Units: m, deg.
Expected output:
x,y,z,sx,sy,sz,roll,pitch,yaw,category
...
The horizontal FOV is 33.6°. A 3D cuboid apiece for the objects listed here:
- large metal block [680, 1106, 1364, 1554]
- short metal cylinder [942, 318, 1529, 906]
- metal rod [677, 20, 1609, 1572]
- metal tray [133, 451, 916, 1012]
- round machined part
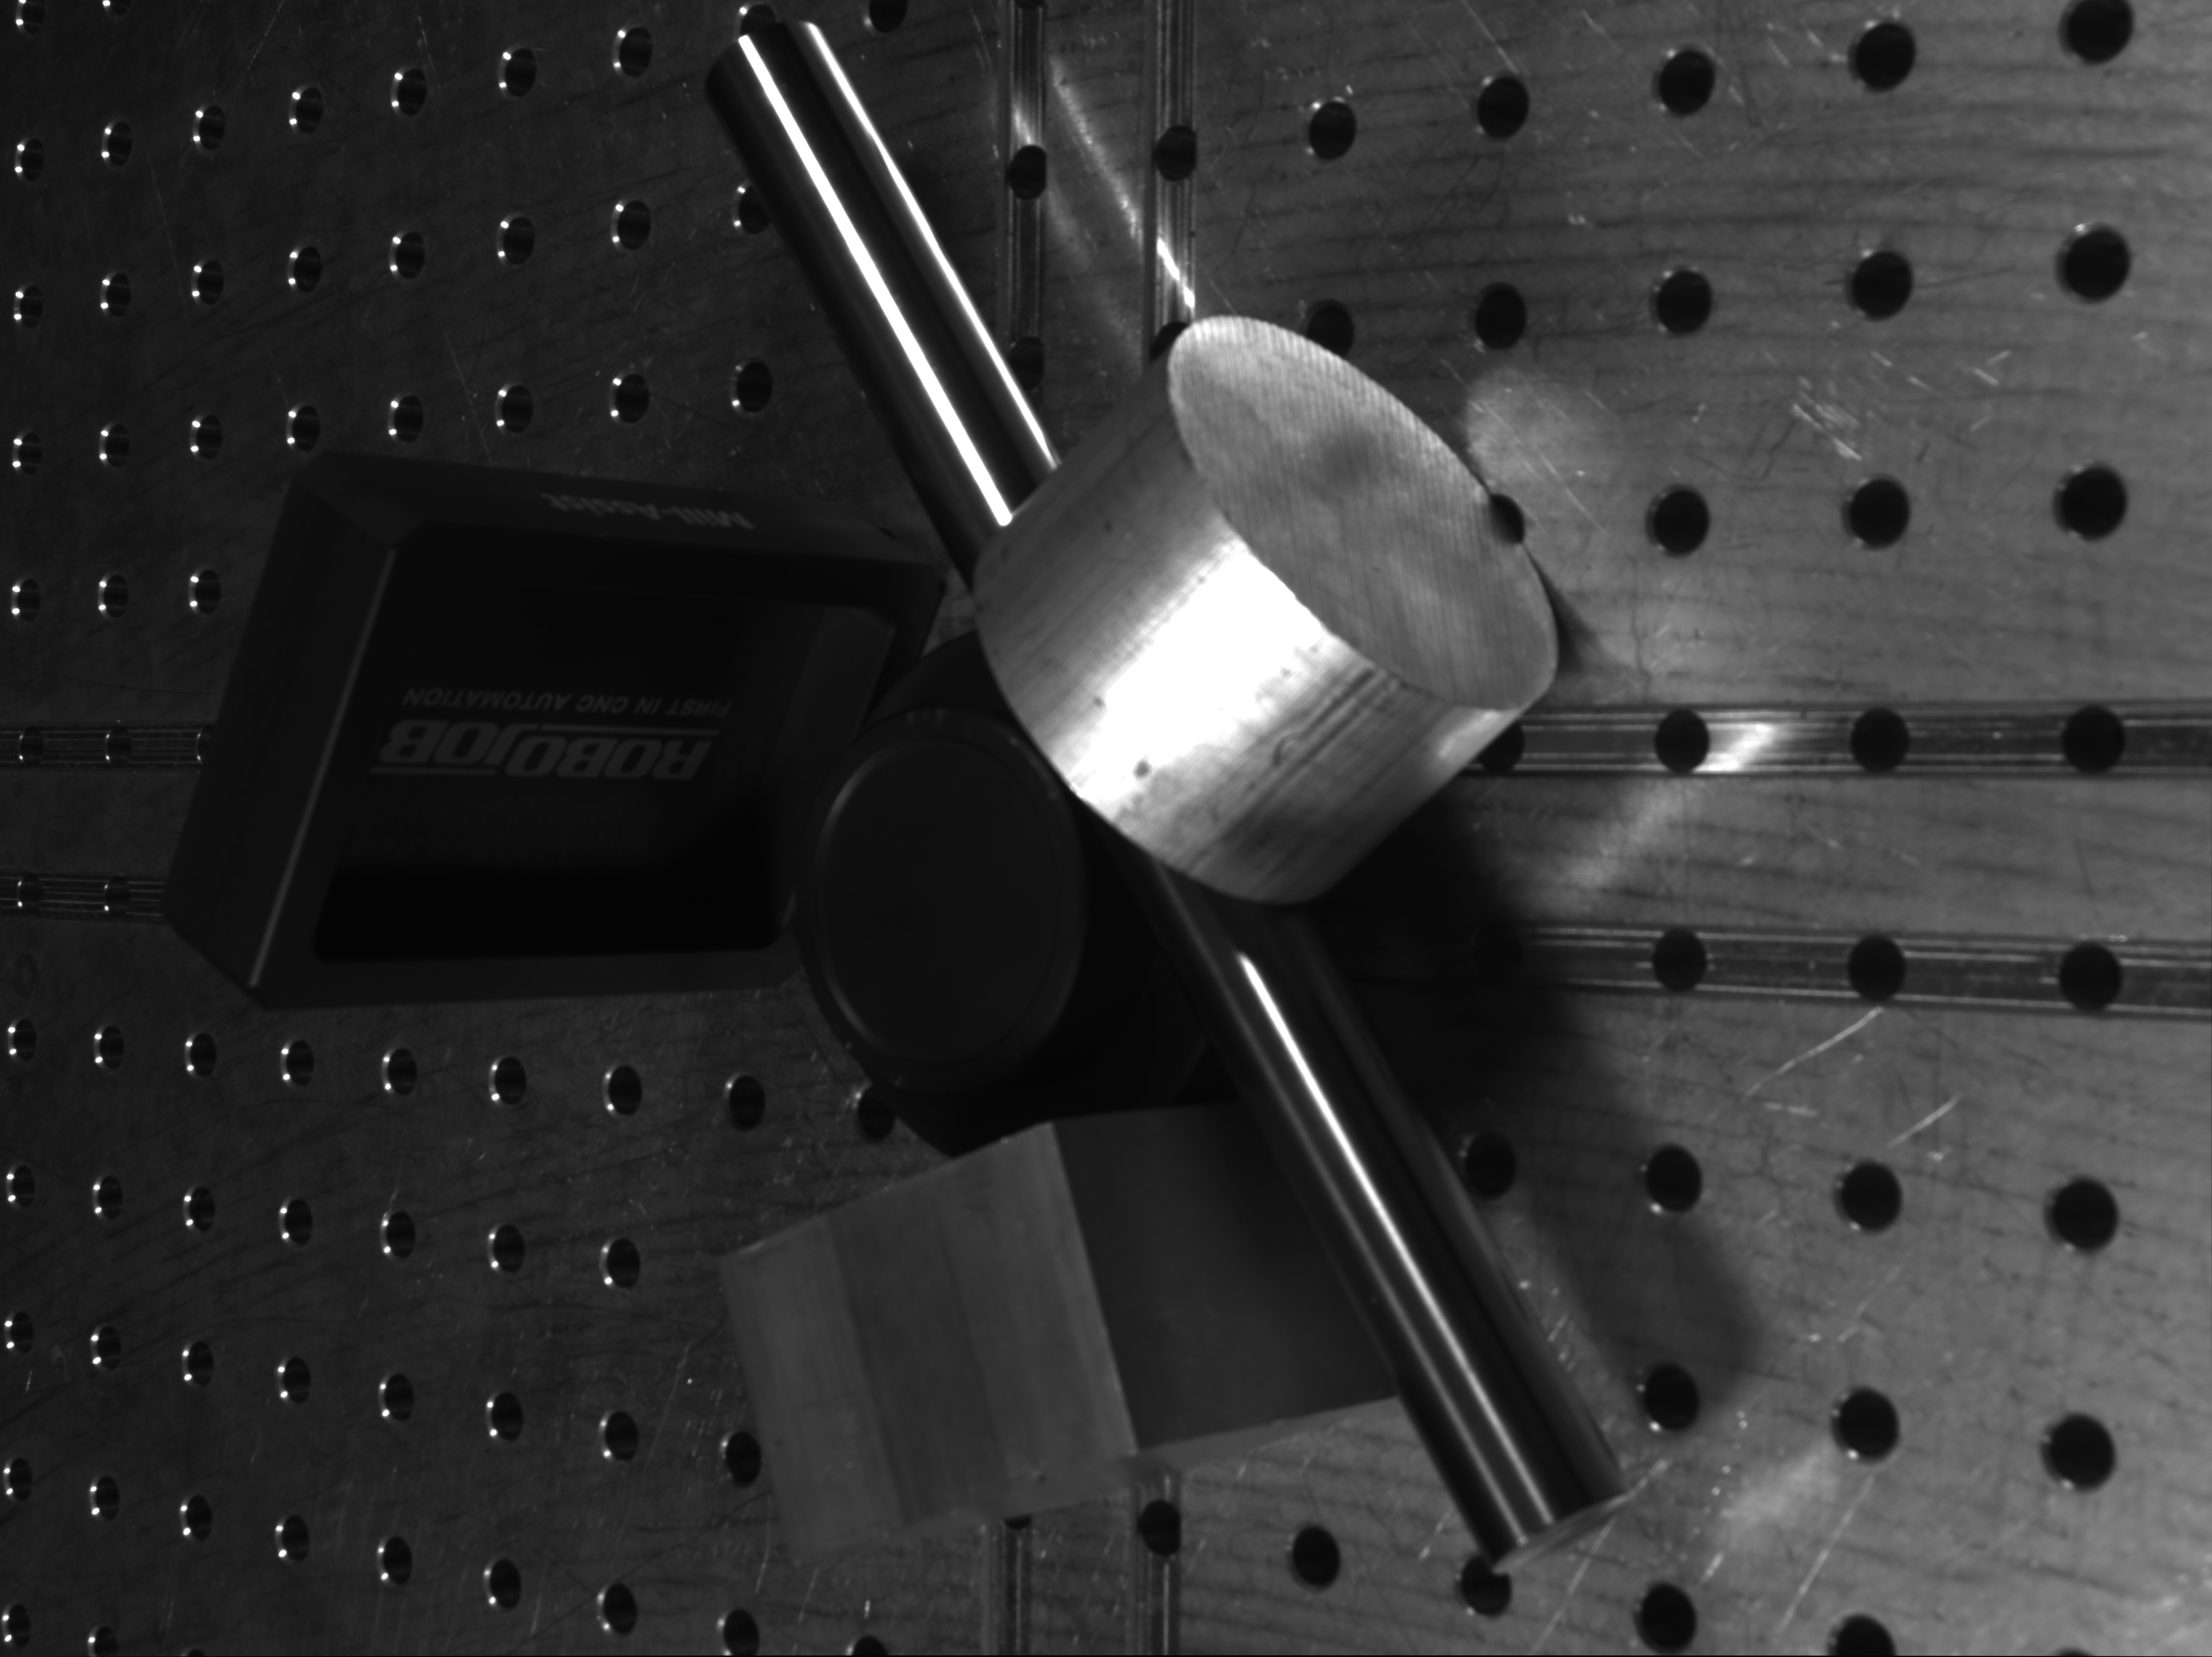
x,y,z,sx,sy,sz,roll,pitch,yaw,category
-0.010,0.082,0.612,0.080,0.080,0.050,-24,75,37,large metal block
0.021,-0.035,0.585,0.050,0.080,0.080,-44,64,30,short metal cylinder
-0.001,-0.016,0.612,0.025,0.025,0.300,-42,65,31,metal rod
-0.101,-0.015,0.654,0.030,0.130,0.090,33,110,35,metal tray
-0.022,0.013,0.646,0.098,0.042,0.098,0,90,39,round machined part
